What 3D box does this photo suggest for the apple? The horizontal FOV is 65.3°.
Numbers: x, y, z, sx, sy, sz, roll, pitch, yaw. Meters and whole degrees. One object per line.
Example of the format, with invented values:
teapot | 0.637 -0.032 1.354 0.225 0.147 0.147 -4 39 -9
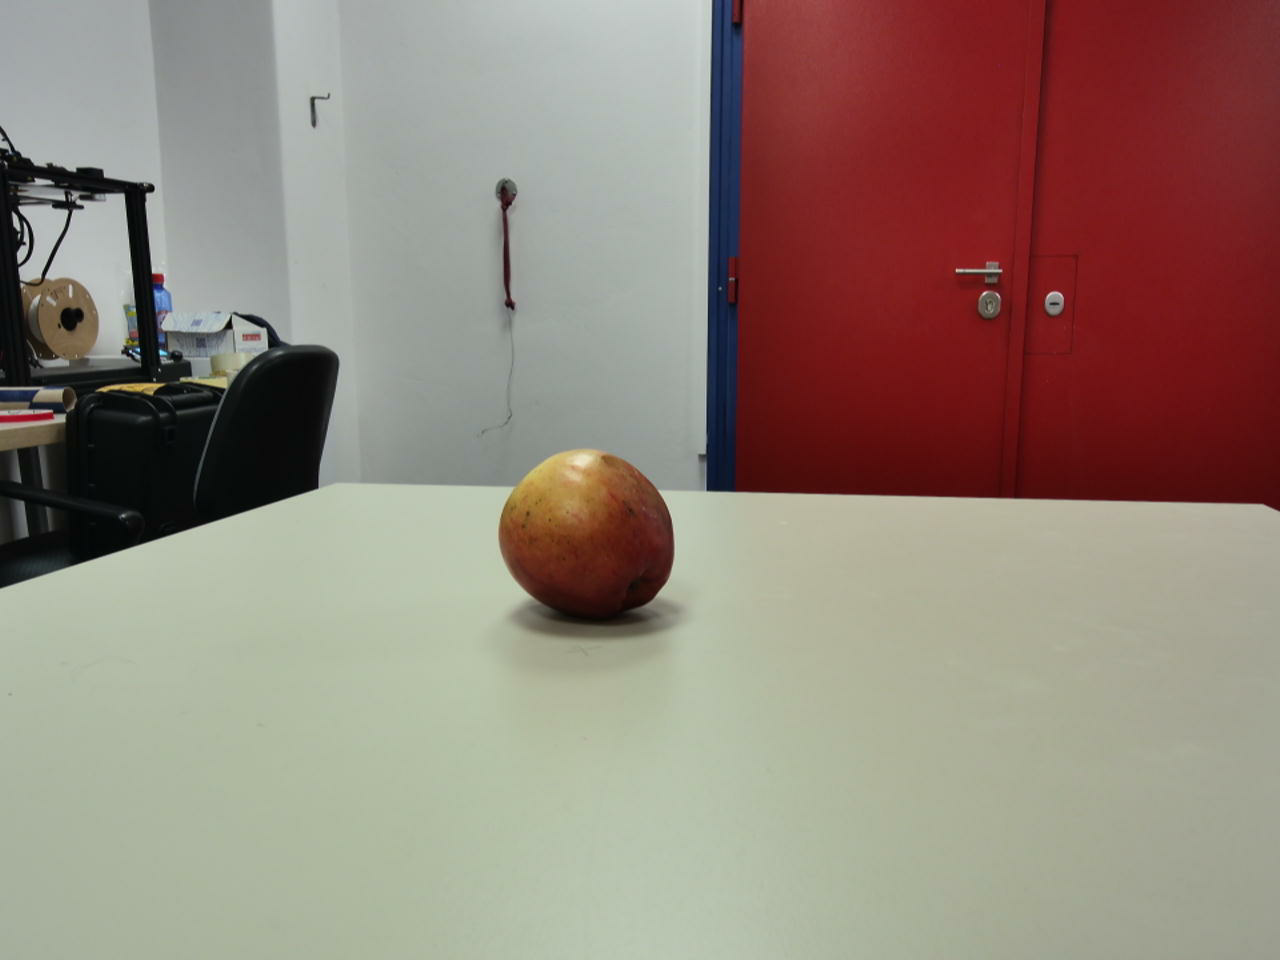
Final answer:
apple | -0.029 0.026 0.516 0.086 0.084 0.093 -4 7 -24
